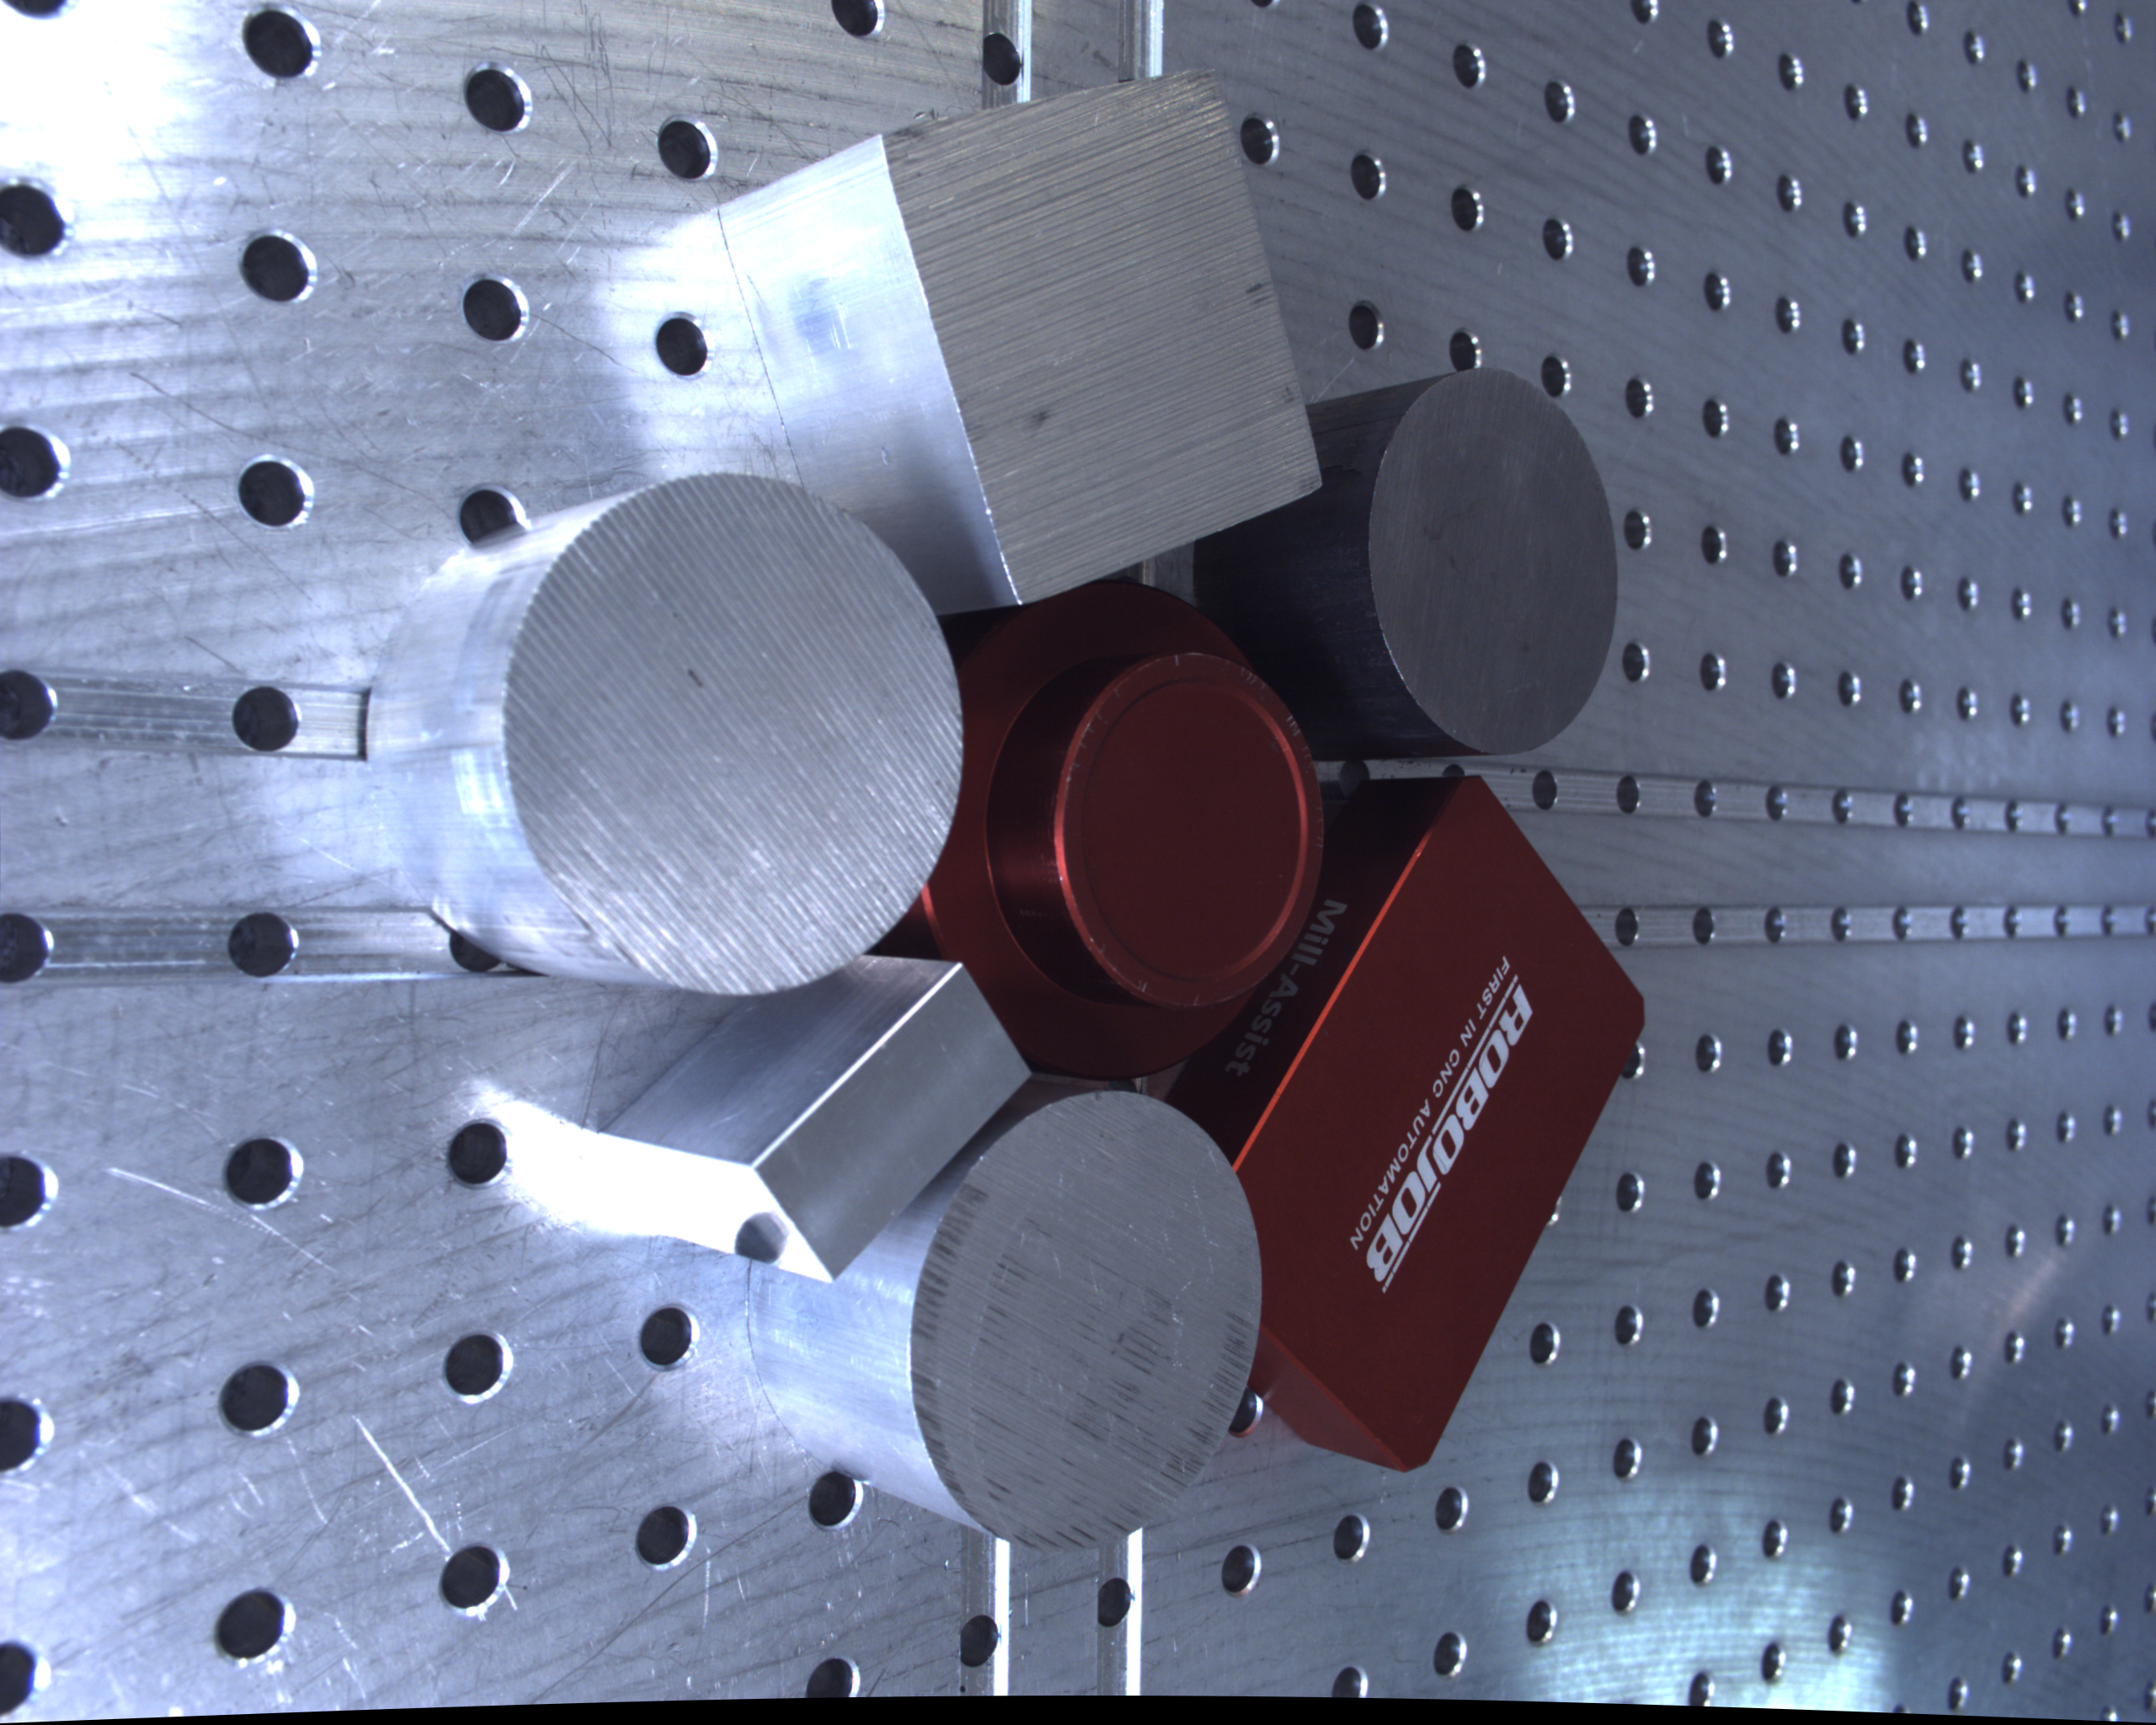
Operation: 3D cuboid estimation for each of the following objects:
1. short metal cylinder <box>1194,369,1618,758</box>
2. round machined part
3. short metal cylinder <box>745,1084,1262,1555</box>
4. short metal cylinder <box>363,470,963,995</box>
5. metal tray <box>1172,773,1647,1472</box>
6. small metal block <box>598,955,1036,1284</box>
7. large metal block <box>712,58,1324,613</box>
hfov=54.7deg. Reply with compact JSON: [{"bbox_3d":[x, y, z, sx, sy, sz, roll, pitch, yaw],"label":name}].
[{"bbox_3d":[0.072,-0.062,0.452,0.081,0.050,0.080,0,90,-40],"label":"short metal cylinder"},{"bbox_3d":[0.009,-0.006,0.405,0.099,0.042,0.097,0,90,-40],"label":"round machined part"},{"bbox_3d":[-0.013,0.079,0.381,0.081,0.050,0.080,0,90,-40],"label":"short metal cylinder"},{"bbox_3d":[-0.066,-0.020,0.336,0.081,0.050,0.080,0,90,-40],"label":"short metal cylinder"},{"bbox_3d":[0.071,0.055,0.464,0.090,0.030,0.130,48,61,-29],"label":"metal tray"},{"bbox_3d":[-0.044,0.041,0.354,0.050,0.050,0.025,-45,117,-31],"label":"small metal block"},{"bbox_3d":[-0.009,-0.095,0.385,0.081,0.050,0.080,-27,107,-37],"label":"large metal block"}]
